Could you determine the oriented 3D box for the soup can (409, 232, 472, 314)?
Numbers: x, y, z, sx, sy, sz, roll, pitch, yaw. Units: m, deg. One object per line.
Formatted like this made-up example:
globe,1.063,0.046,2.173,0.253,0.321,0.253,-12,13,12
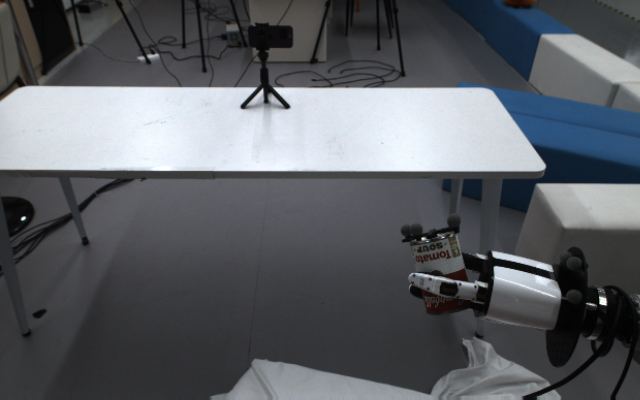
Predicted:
soup can,0.170,0.099,0.673,0.067,0.101,0.067,-14,-2,-1
